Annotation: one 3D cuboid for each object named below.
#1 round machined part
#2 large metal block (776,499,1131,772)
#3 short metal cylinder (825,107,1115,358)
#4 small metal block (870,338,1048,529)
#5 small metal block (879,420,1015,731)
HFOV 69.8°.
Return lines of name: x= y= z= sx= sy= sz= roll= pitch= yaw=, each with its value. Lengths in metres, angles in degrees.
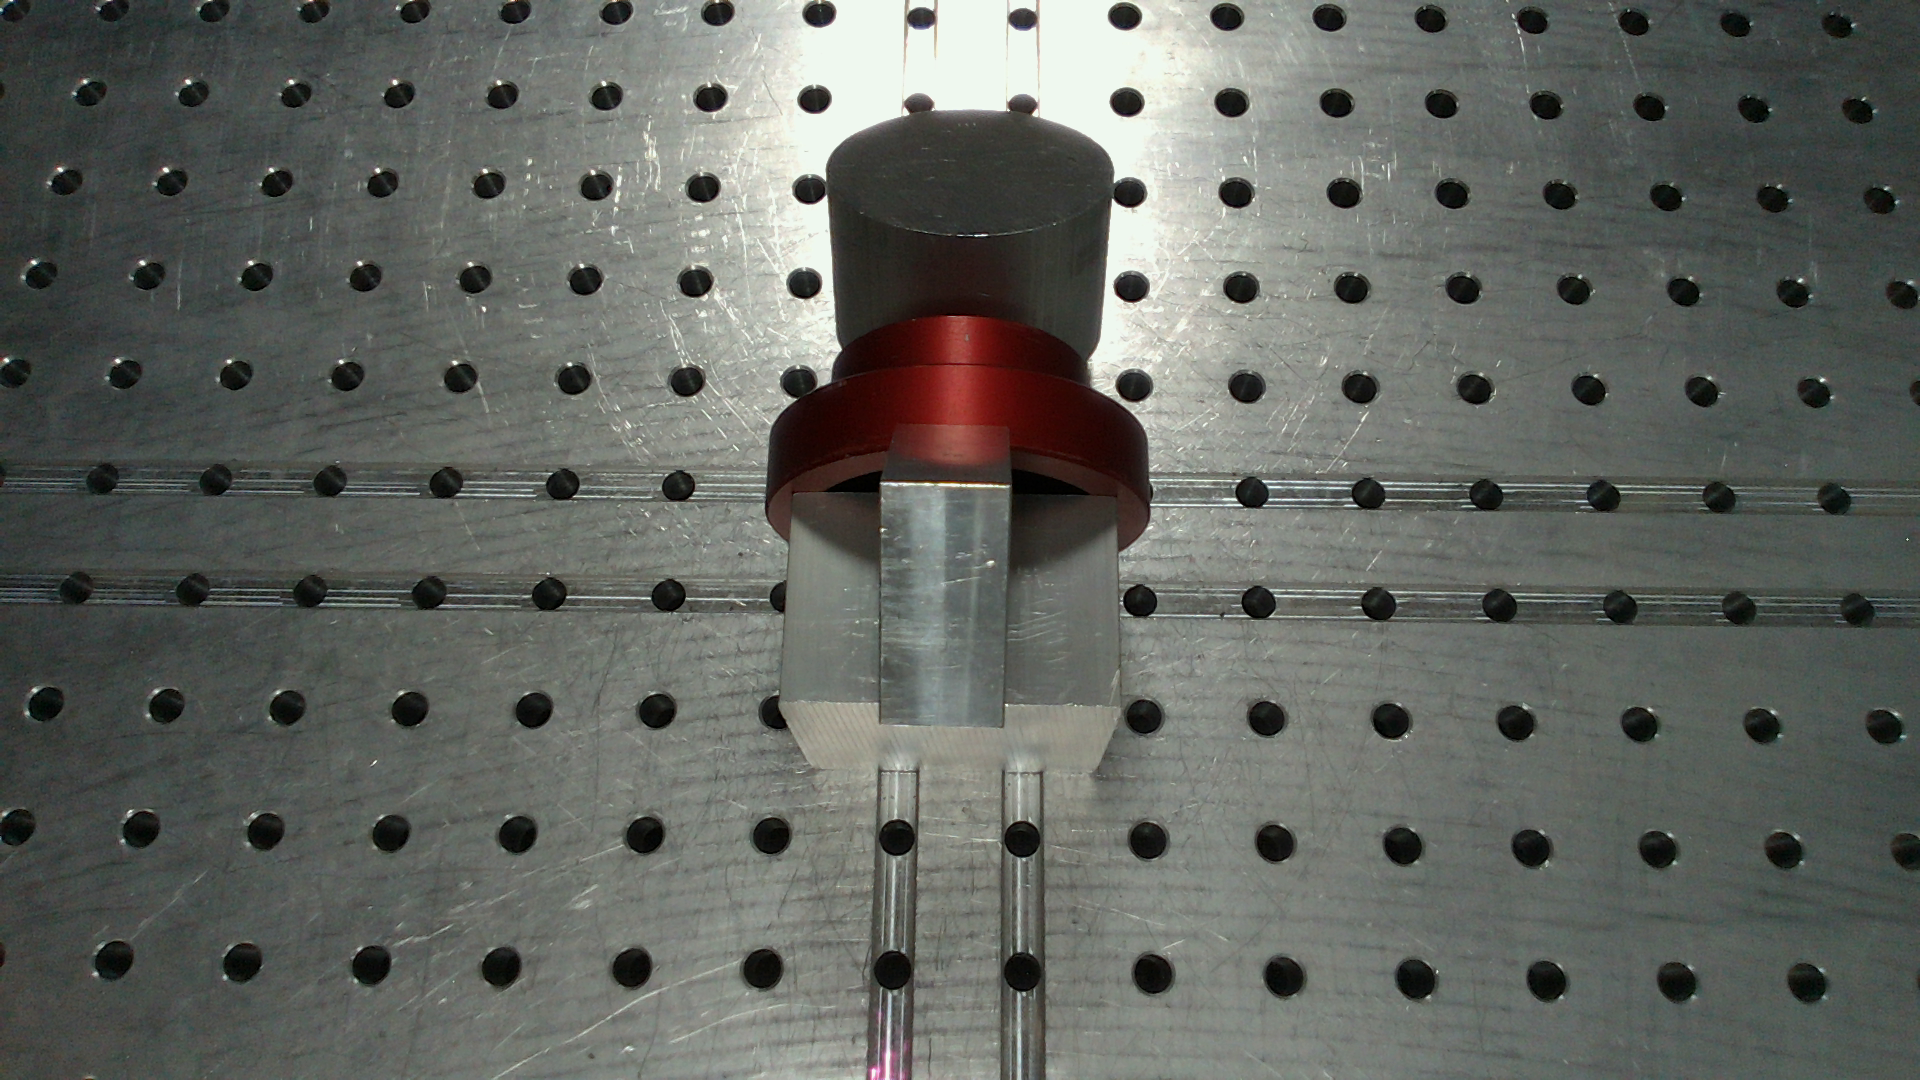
round machined part: x=0.000 y=-0.024 z=0.356 sx=0.098 sy=0.098 sz=0.042 roll=1 pitch=70 yaw=0
large metal block: x=-0.001 y=0.028 z=0.357 sx=0.080 sy=0.080 sz=0.050 roll=1 pitch=70 yaw=0
short metal cylinder: x=0.003 y=-0.085 z=0.397 sx=0.080 sy=0.050 sz=0.080 roll=1 pitch=40 yaw=0
small metal block: x=0.000 y=-0.031 z=0.408 sx=0.050 sy=0.025 sz=0.050 roll=1 pitch=70 yaw=0
small metal block: x=-0.003 y=0.006 z=0.285 sx=0.025 sy=0.050 sz=0.050 roll=1 pitch=108 yaw=0
